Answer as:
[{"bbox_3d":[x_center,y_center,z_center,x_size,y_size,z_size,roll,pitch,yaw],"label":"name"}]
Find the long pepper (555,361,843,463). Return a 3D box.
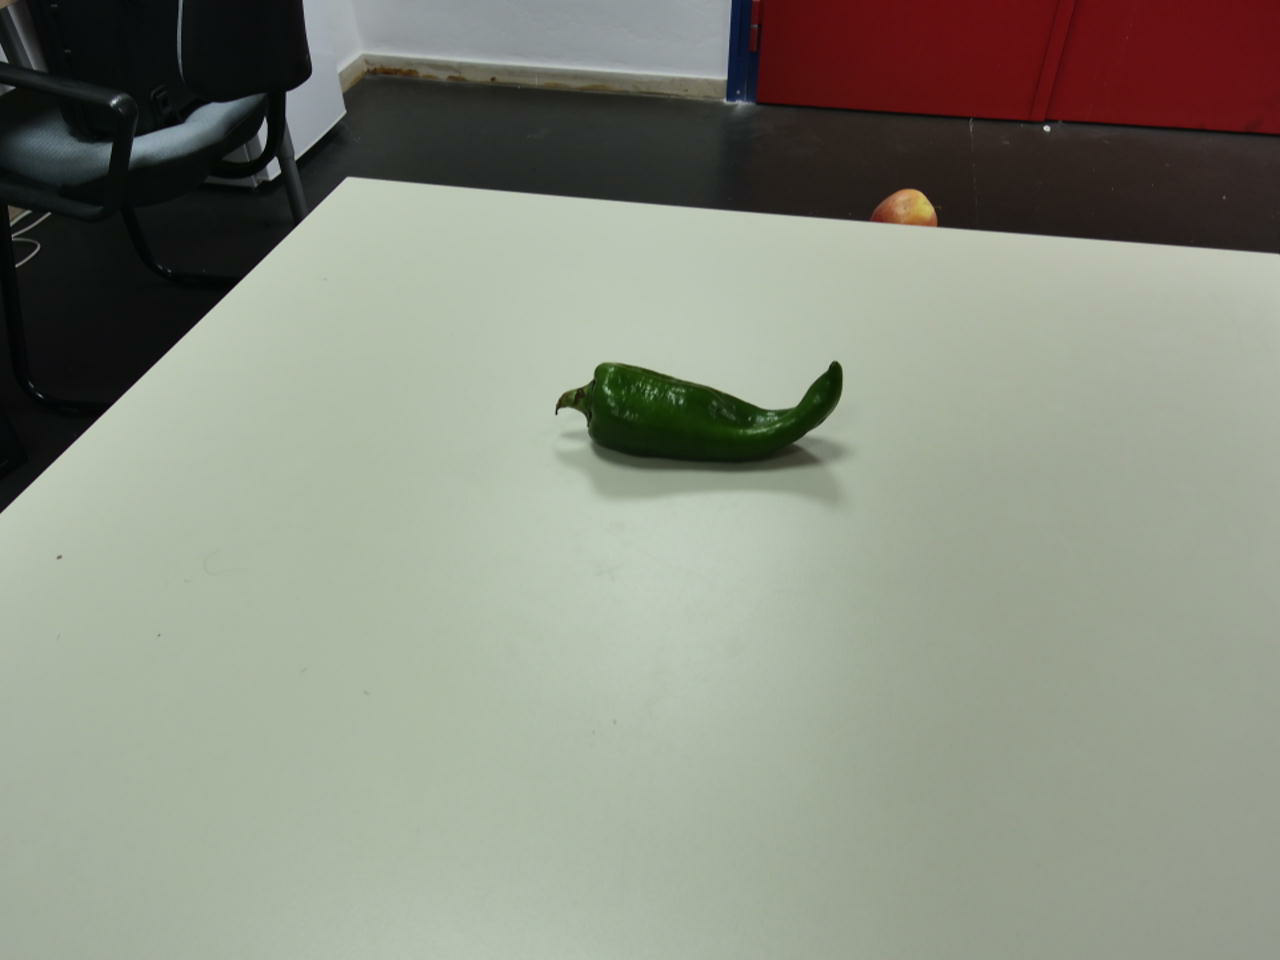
[{"bbox_3d":[0.033,-0.046,0.606,0.175,0.065,0.058,6,40,9],"label":"long pepper"}]
